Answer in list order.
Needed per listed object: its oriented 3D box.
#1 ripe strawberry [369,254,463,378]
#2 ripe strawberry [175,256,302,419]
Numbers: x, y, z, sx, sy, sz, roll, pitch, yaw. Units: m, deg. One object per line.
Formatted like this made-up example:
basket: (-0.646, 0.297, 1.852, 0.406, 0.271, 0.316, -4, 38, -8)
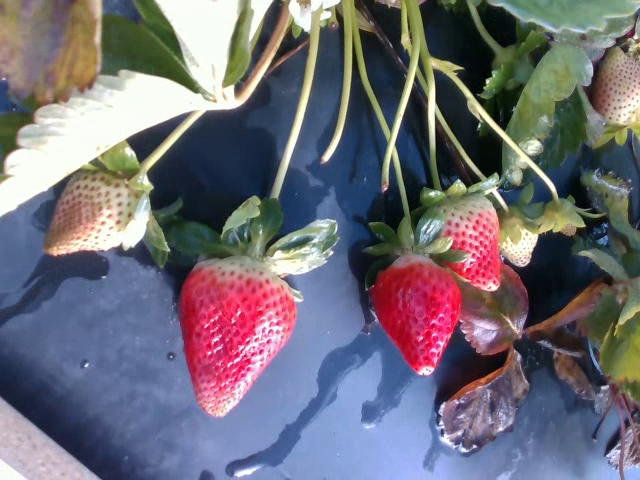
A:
ripe strawberry: (0.041, 0.035, 0.267, 0.044, 0.055, 0.042, -6, -23, 7)
ripe strawberry: (-0.034, 0.037, 0.226, 0.050, 0.065, 0.050, 15, -27, -4)
